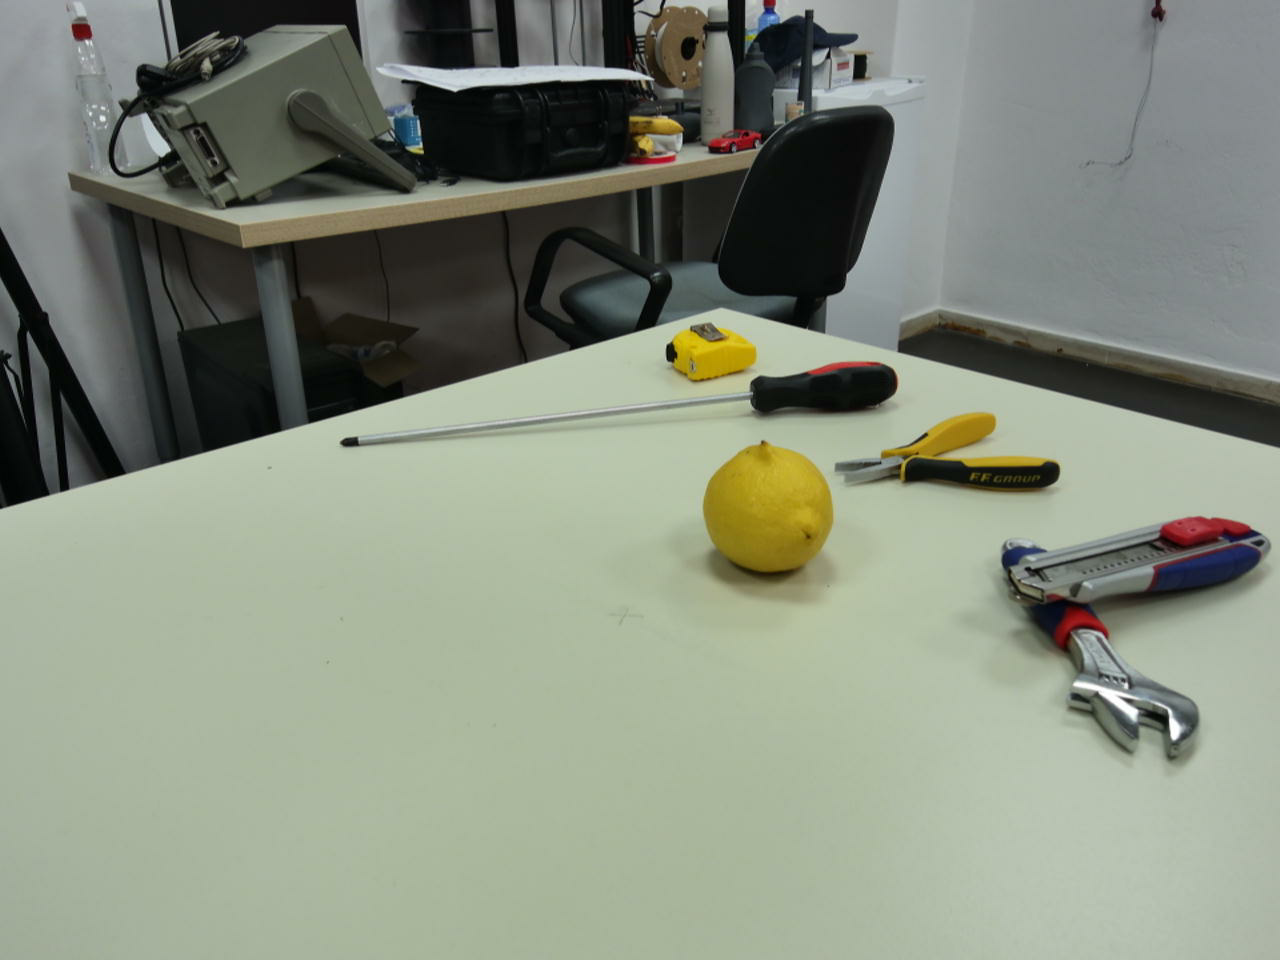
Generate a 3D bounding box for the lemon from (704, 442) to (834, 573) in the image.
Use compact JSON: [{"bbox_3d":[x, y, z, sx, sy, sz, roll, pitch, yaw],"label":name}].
[{"bbox_3d":[0.069,0.013,0.537,0.070,0.071,0.071,6,24,14],"label":"lemon"}]
